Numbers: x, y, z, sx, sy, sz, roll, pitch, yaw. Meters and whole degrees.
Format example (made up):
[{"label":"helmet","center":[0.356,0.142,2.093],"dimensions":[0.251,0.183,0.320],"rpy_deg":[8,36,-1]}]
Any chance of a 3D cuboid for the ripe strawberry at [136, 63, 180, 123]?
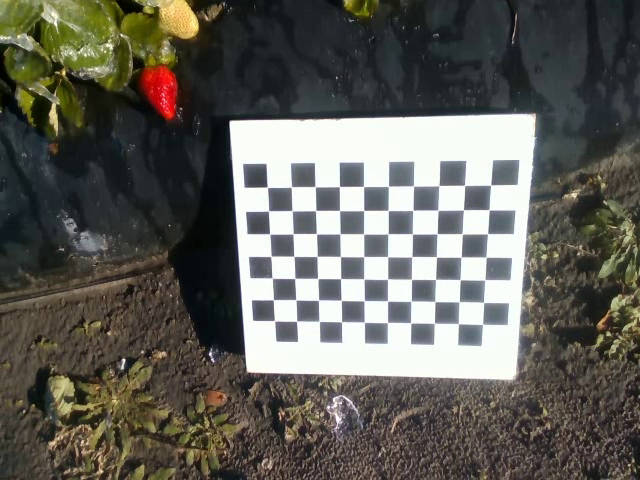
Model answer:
[{"label":"ripe strawberry","center":[-0.155,-0.139,0.575],"dimensions":[0.041,0.052,0.040],"rpy_deg":[-17,6,9]}]
